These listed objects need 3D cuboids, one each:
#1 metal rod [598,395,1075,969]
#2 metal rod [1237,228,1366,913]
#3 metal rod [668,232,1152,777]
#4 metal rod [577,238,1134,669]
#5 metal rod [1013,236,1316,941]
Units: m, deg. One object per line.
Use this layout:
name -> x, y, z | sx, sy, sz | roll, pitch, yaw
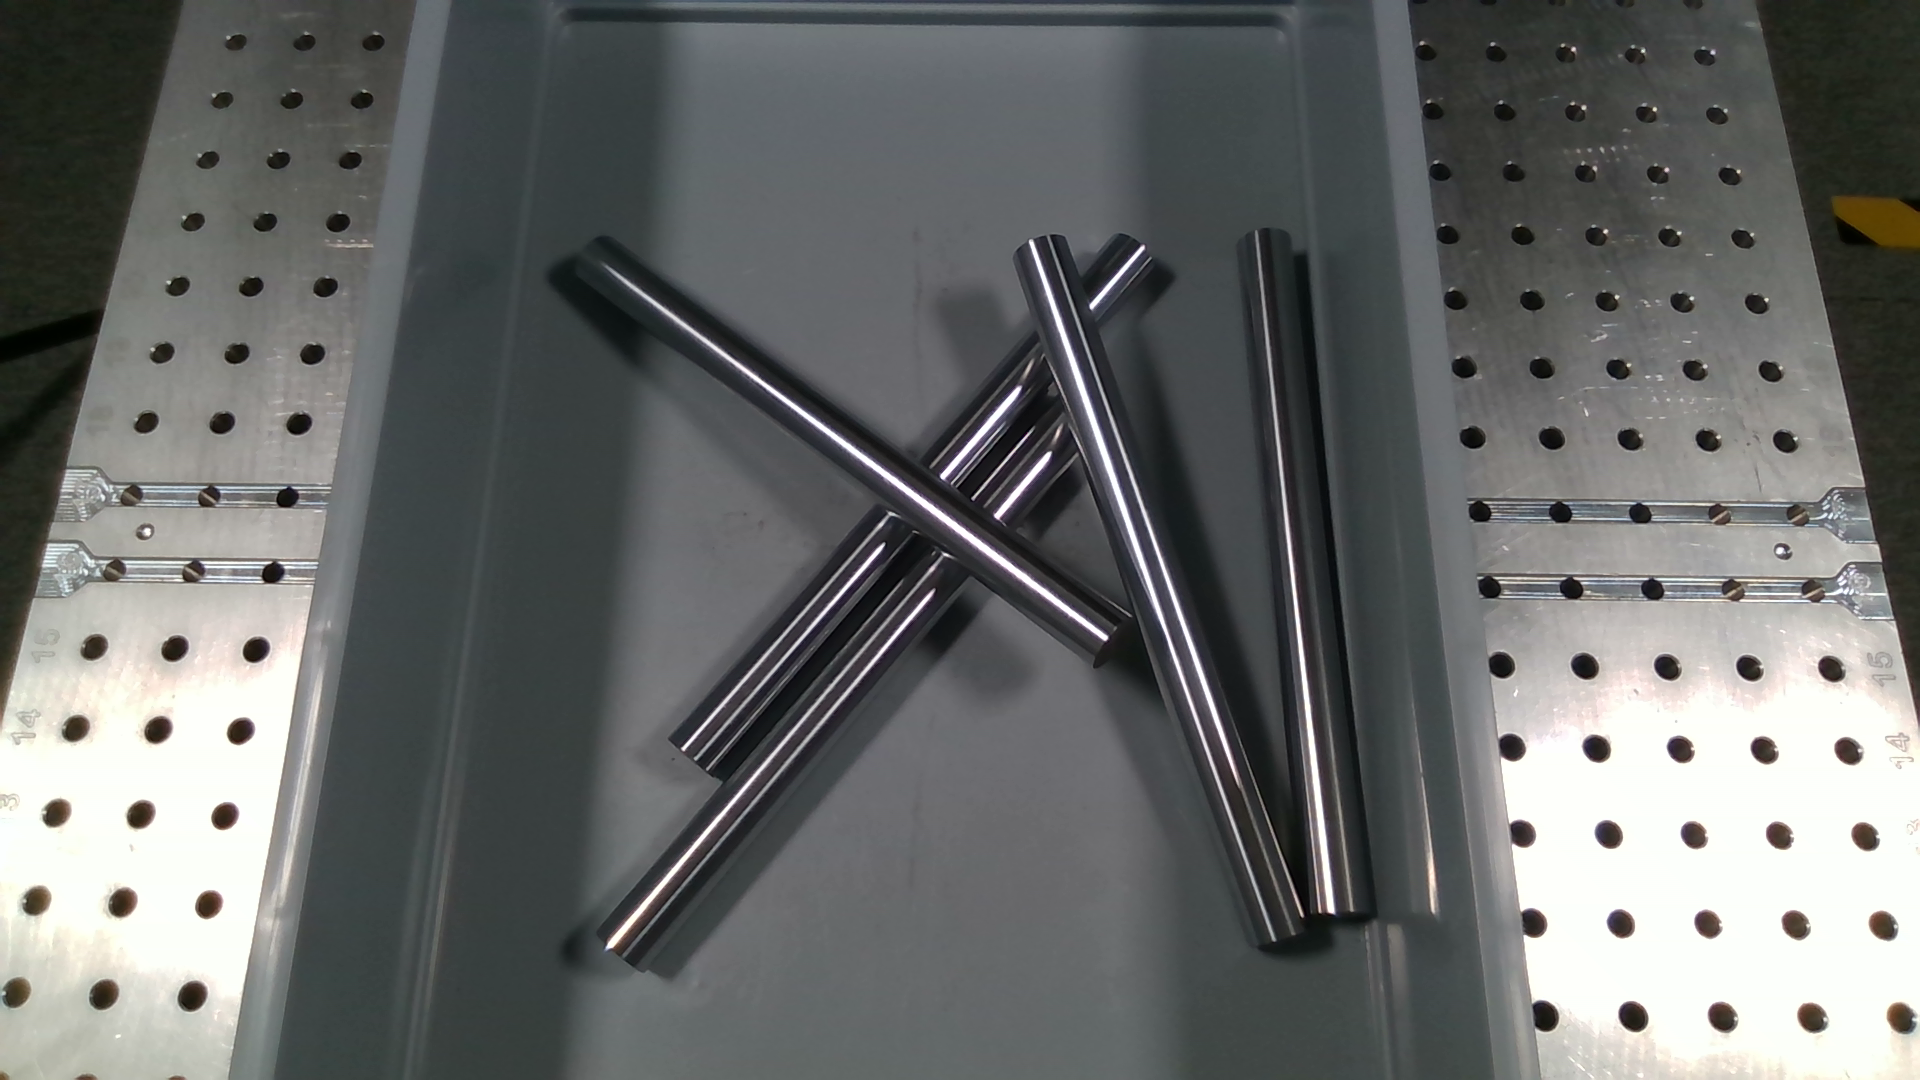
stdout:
metal rod -> -0.037, 0.047, 0.571 | 0.025, 0.025, 0.300 | 37, 74, 12
metal rod -> 0.143, 0.003, 0.587 | 0.025, 0.025, 0.299 | -1, 70, 0
metal rod -> -0.015, -0.022, 0.596 | 0.025, 0.025, 0.300 | 37, 74, 12
metal rod -> -0.053, -0.044, 0.582 | 0.300, 0.025, 0.025 | 37, 74, 20
metal rod -> 0.081, 0.013, 0.567 | 0.025, 0.025, 0.299 | -17, 77, -6
